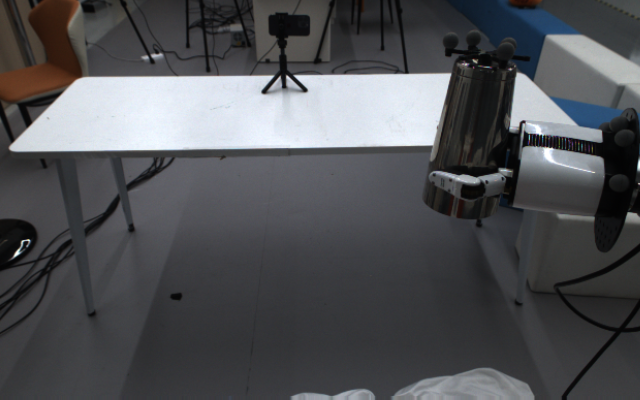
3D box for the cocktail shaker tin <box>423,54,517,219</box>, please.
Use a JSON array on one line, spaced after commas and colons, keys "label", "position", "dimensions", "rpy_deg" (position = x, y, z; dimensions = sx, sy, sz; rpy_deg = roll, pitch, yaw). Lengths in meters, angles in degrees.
[{"label": "cocktail shaker tin", "position": [0.179, -0.075, 0.566], "dimensions": [0.093, 0.170, 0.093], "rpy_deg": [1, 28, -1]}]
